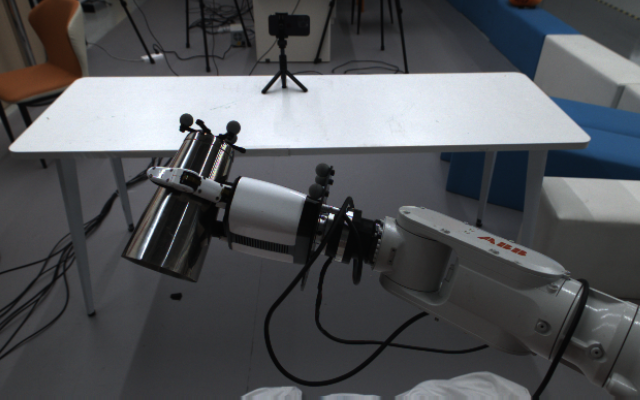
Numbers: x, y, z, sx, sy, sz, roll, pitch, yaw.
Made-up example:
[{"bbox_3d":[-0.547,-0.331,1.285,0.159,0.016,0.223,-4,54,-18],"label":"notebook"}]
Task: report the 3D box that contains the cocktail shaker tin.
[{"bbox_3d":[-0.165,0.006,0.595,0.093,0.093,0.170,12,71,15],"label":"cocktail shaker tin"}]
